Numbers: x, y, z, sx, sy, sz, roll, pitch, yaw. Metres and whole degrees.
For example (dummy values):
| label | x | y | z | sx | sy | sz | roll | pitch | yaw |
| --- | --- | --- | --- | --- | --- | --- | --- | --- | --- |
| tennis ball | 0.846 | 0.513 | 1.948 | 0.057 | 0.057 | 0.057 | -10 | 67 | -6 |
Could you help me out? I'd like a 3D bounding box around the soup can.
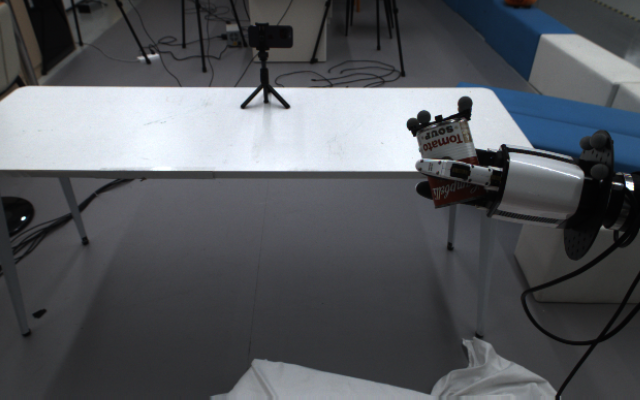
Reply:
| label | x | y | z | sx | sy | sz | roll | pitch | yaw |
| --- | --- | --- | --- | --- | --- | --- | --- | --- | --- |
| soup can | 0.168 | -0.047 | 0.621 | 0.067 | 0.101 | 0.067 | -14 | -2 | -1 |
